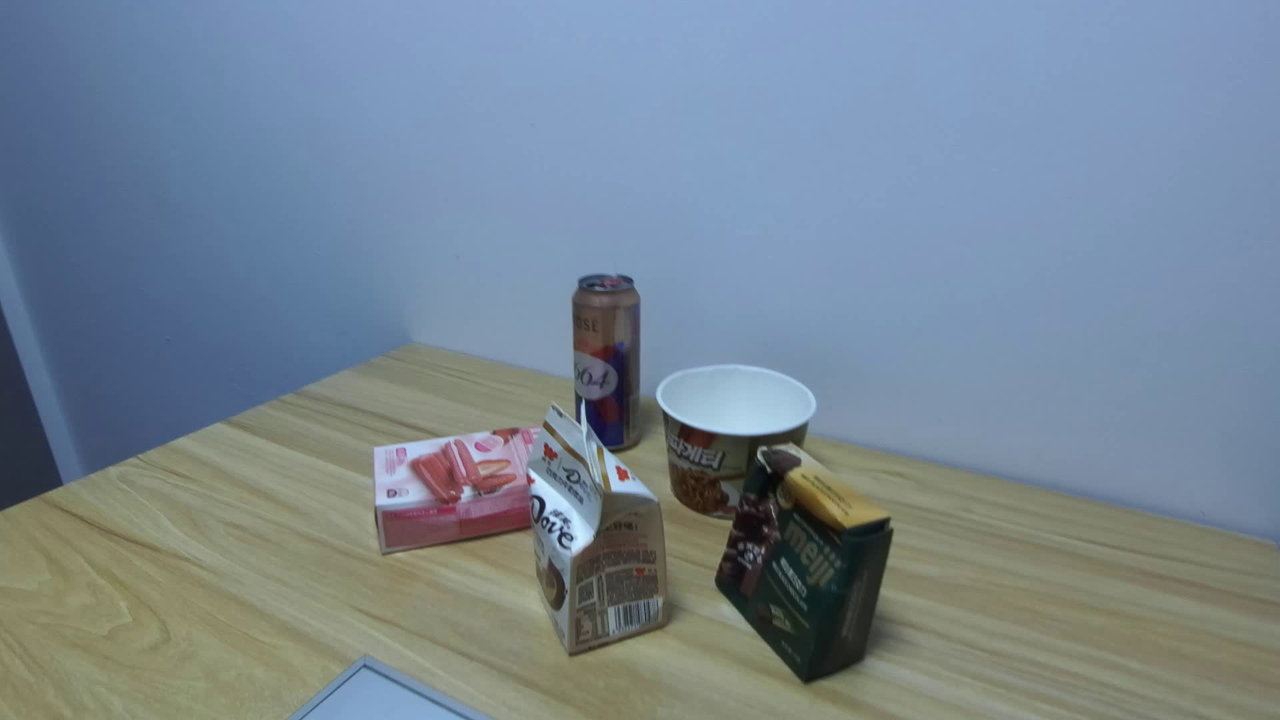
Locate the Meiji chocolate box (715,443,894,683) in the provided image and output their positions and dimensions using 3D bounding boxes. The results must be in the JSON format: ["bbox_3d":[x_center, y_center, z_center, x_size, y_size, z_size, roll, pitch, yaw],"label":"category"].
[{"bbox_3d":[0.109,0.129,0.472,0.052,0.117,0.117,-3,21,-28],"label":"Meiji chocolate box"}]

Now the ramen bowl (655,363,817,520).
[{"bbox_3d":[0.083,0.073,0.636,0.140,0.095,0.140,2,22,0],"label":"ramen bowl"}]

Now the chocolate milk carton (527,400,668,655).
[{"bbox_3d":[-0.030,0.105,0.472,0.074,0.155,0.076,-11,26,-21],"label":"chocolate milk carton"}]

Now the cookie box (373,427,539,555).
[{"bbox_3d":[-0.134,0.107,0.614,0.188,0.049,0.105,-7,23,-18],"label":"cookie box"}]

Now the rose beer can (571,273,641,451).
[{"bbox_3d":[-0.032,0.005,0.708,0.068,0.169,0.068,0,21,0],"label":"rose beer can"}]
